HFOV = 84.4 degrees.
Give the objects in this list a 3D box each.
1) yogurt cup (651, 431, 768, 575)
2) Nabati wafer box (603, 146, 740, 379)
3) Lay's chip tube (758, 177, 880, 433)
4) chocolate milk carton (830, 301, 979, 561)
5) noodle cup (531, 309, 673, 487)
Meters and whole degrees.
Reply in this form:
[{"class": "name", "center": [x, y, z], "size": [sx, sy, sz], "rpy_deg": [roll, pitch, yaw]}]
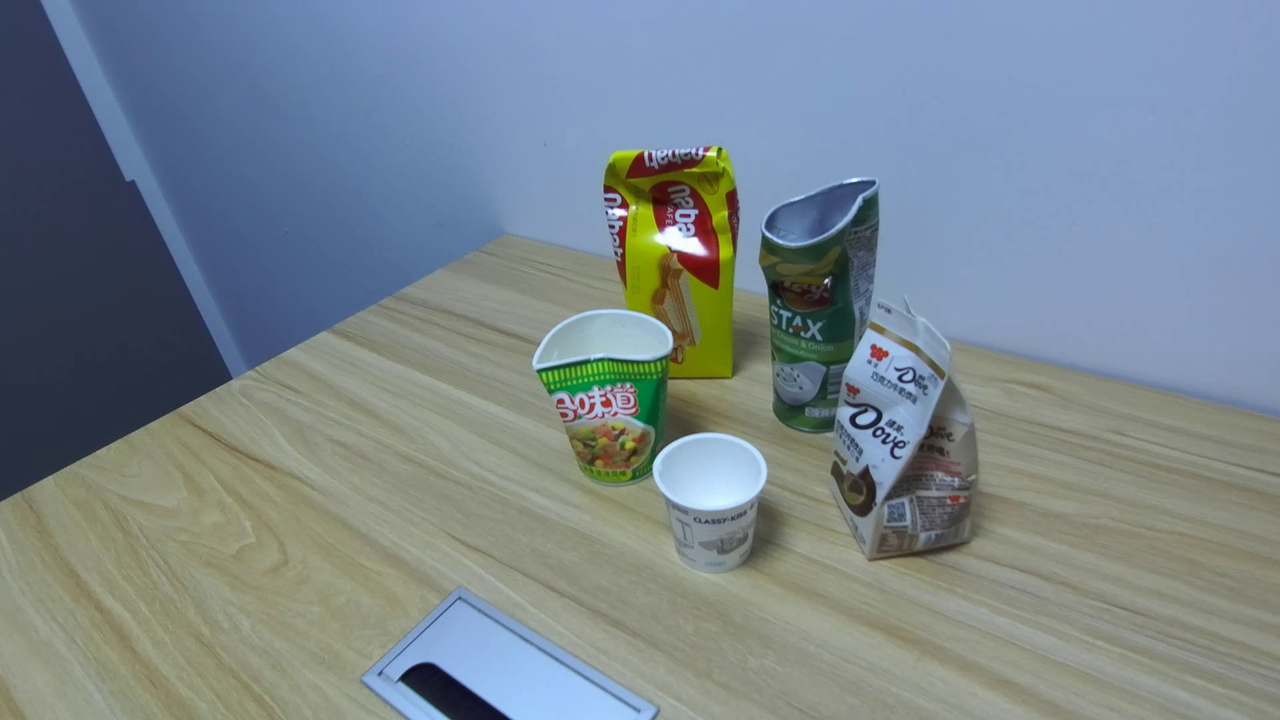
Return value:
[{"class": "yogurt cup", "center": [0.047, 0.096, 0.460], "size": [0.072, 0.068, 0.072], "rpy_deg": [-5, 33, 3]}, {"class": "Nabati wafer box", "center": [0.031, -0.077, 0.601], "size": [0.113, 0.205, 0.042], "rpy_deg": [-2, 32, 9]}, {"class": "Lay's chip tube", "center": [0.132, -0.033, 0.527], "size": [0.079, 0.200, 0.071], "rpy_deg": [5, 44, 19]}, {"class": "chocolate milk carton", "center": [0.170, 0.044, 0.443], "size": [0.073, 0.155, 0.084], "rpy_deg": [-9, 34, -3]}, {"class": "noodle cup", "center": [-0.018, 0.030, 0.531], "size": [0.093, 0.110, 0.087], "rpy_deg": [7, 35, 21]}]
